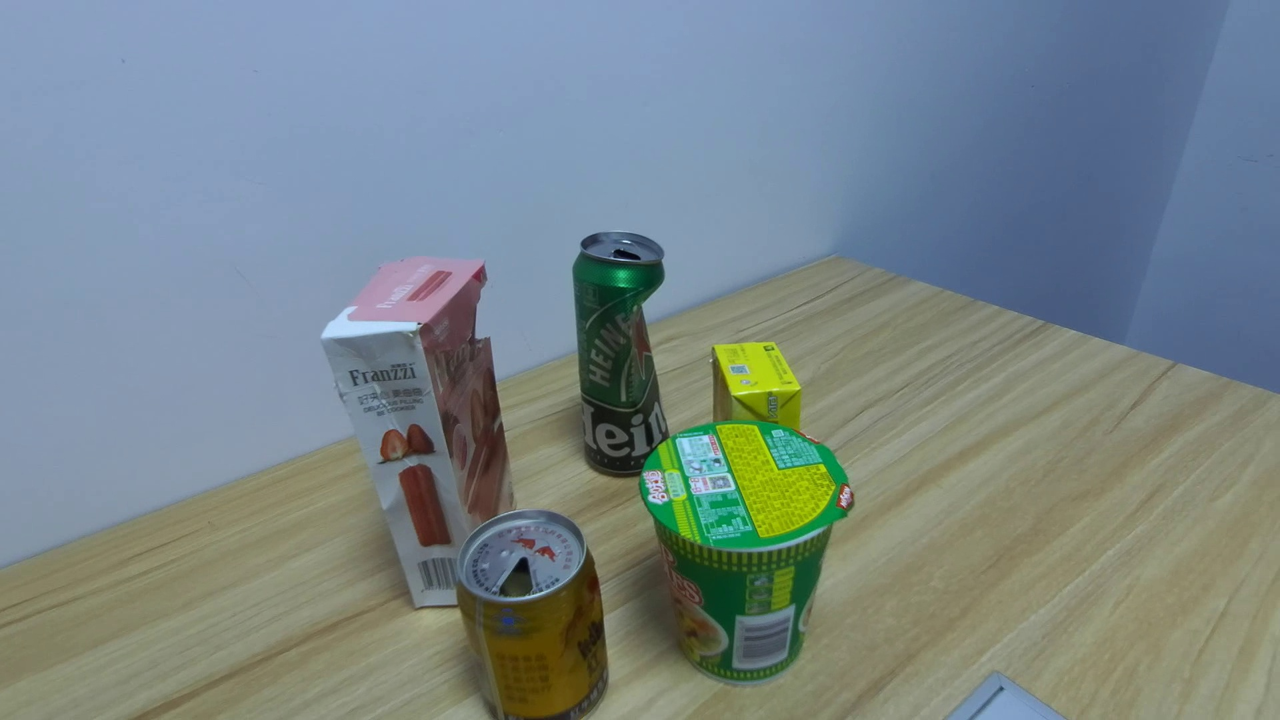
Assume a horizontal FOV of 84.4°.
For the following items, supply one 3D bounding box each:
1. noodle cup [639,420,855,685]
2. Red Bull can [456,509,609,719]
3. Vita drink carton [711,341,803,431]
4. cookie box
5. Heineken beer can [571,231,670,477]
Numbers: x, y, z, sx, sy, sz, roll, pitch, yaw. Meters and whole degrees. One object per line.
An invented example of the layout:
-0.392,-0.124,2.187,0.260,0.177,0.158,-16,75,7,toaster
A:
0.052,0.103,0.360,0.097,0.110,0.097,-3,28,2,noodle cup
-0.051,0.128,0.345,0.068,0.093,0.068,-3,28,2,Red Bull can
0.071,0.048,0.454,0.043,0.109,0.076,-4,28,-3,Vita drink carton
-0.117,0.044,0.408,0.059,0.186,0.105,0,28,4,cookie box
-0.010,-0.001,0.496,0.069,0.168,0.069,-20,34,-31,Heineken beer can
